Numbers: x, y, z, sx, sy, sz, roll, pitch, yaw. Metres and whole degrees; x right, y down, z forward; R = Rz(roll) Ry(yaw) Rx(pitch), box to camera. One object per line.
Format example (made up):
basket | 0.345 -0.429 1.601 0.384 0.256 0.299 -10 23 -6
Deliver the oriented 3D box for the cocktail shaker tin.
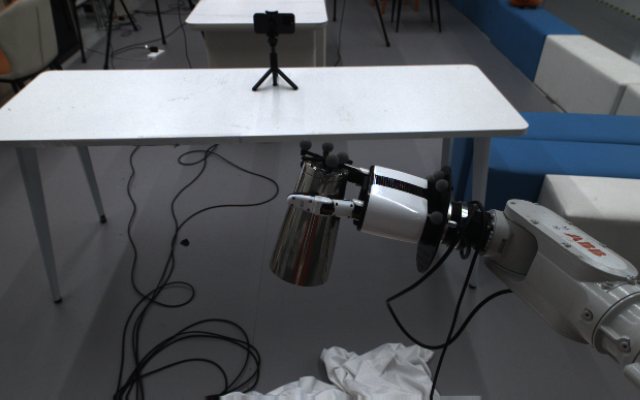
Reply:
cocktail shaker tin | -0.010 0.027 0.711 0.093 0.170 0.093 14 19 -5
